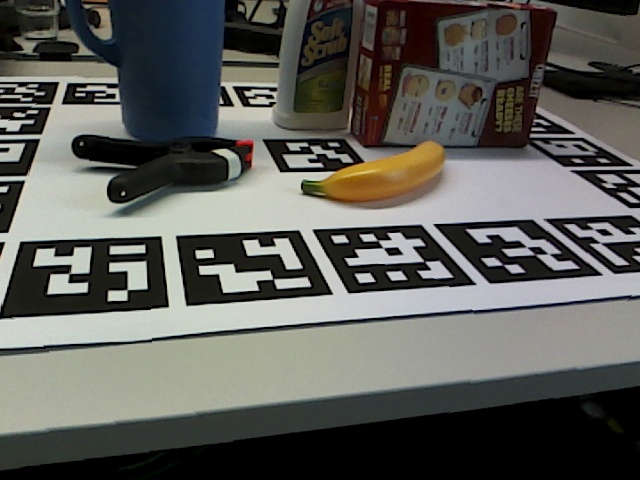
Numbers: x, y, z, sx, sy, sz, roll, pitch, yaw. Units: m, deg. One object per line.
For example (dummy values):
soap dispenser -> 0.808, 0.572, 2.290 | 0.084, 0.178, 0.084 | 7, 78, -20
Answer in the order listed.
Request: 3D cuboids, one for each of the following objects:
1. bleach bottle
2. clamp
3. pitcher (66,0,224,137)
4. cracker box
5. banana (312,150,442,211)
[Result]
bleach bottle -> -0.008, -0.251, 0.754 | 0.102, 0.250, 0.068 | -4, 27, -16
clamp -> -0.136, -0.069, 0.605 | 0.164, 0.036, 0.123 | -11, 29, -32
pitcher -> -0.175, -0.238, 0.660 | 0.188, 0.242, 0.134 | -12, 30, -34
cracker box -> 0.158, -0.202, 0.745 | 0.213, 0.164, 0.072 | -4, 25, -14
banana -> 0.080, -0.065, 0.648 | 0.075, 0.039, 0.196 | 23, 32, 33
